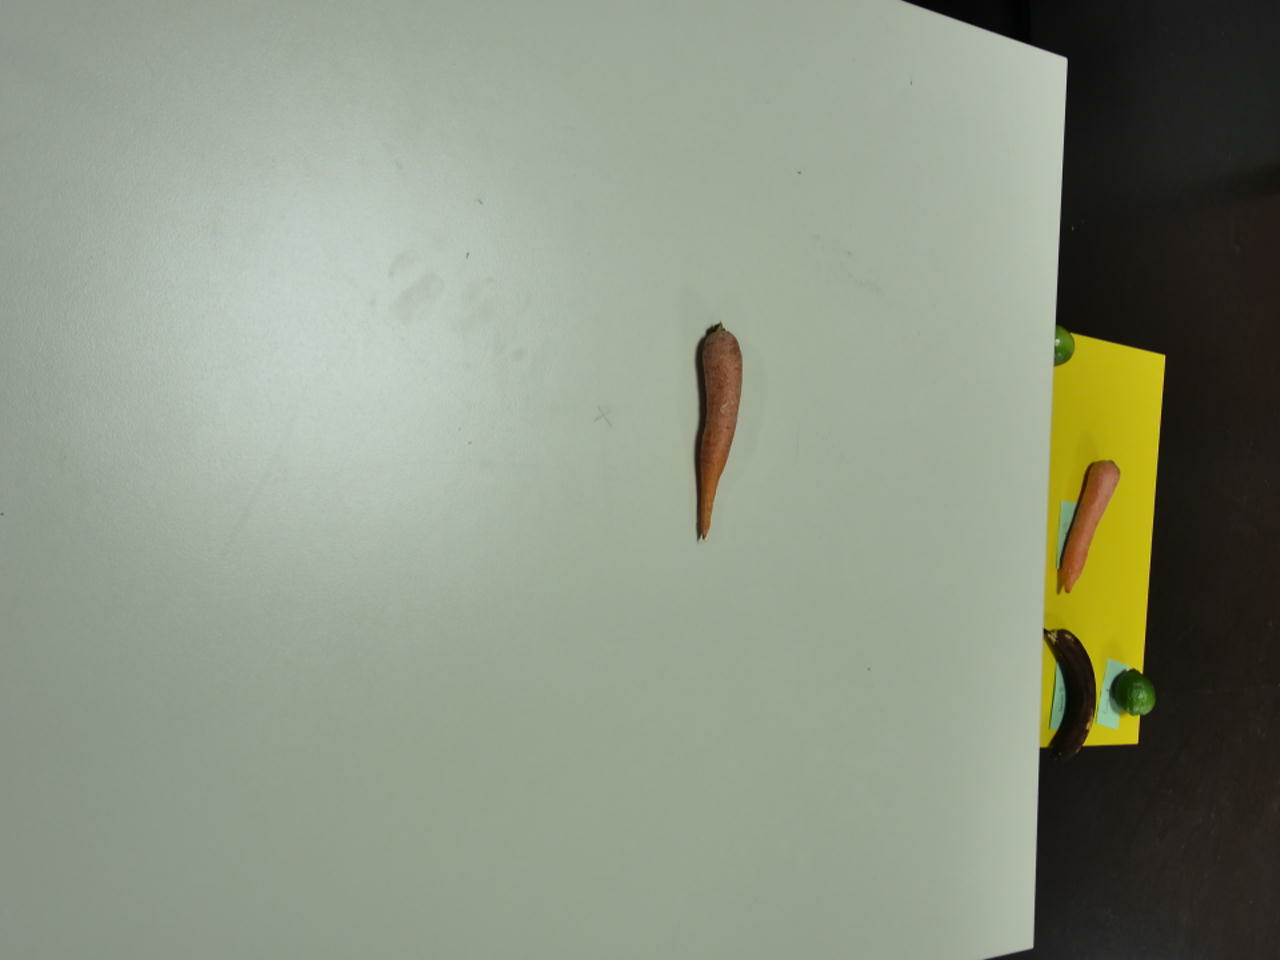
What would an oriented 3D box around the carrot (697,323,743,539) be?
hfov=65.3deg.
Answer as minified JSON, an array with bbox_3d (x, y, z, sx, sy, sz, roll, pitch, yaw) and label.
[{"bbox_3d":[0.058,-0.036,0.744,0.031,0.029,0.163,4,89,-28],"label":"carrot"}]
